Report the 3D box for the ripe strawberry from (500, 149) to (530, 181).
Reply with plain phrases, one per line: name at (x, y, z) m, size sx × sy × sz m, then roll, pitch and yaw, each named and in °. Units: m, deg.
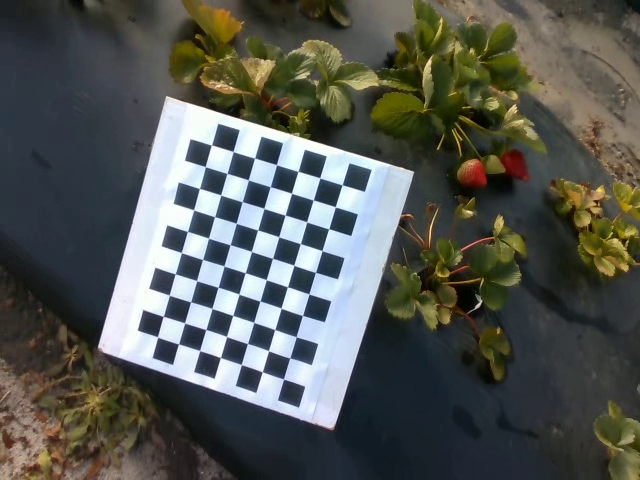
ripe strawberry at (0.310, -0.116, 0.940) m, size 0.048 × 0.065 × 0.050 m, roll -32°, pitch -5°, yaw 7°
